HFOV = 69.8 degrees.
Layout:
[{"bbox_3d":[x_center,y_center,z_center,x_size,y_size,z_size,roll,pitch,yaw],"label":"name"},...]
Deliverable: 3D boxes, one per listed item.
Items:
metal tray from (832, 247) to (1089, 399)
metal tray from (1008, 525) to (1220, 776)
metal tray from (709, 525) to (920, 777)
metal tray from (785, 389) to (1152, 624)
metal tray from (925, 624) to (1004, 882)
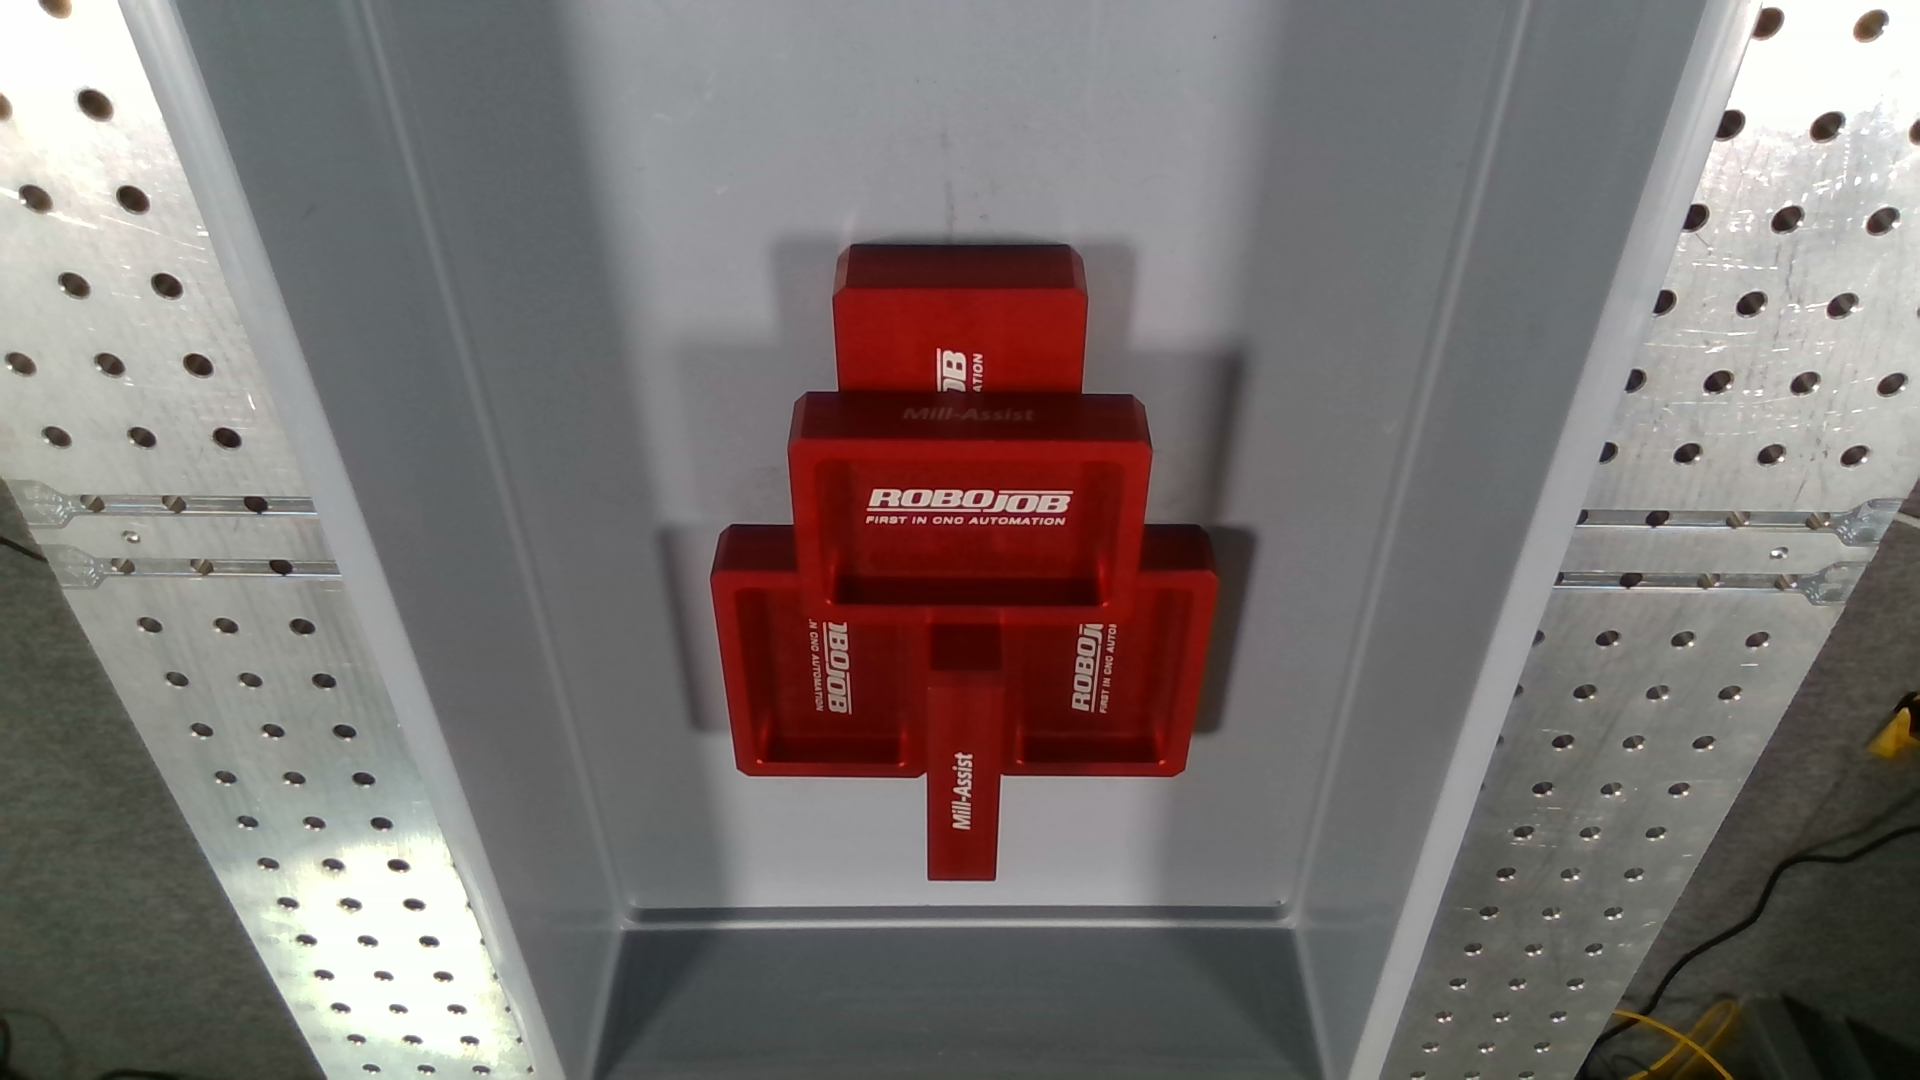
[{"bbox_3d":[0.000,-0.048,0.532,0.090,0.030,0.130,0,130,0],"label":"metal tray"},{"bbox_3d":[0.062,0.052,0.619,0.090,0.030,0.130,1,130,0],"label":"metal tray"},{"bbox_3d":[-0.060,0.053,0.618,0.090,0.030,0.130,0,130,0],"label":"metal tray"},{"bbox_3d":[0.002,-0.011,0.525,0.130,0.030,0.090,1,130,-1],"label":"metal tray"},{"bbox_3d":[0.001,0.074,0.597,0.030,0.090,0.130,1,130,0],"label":"metal tray"}]
